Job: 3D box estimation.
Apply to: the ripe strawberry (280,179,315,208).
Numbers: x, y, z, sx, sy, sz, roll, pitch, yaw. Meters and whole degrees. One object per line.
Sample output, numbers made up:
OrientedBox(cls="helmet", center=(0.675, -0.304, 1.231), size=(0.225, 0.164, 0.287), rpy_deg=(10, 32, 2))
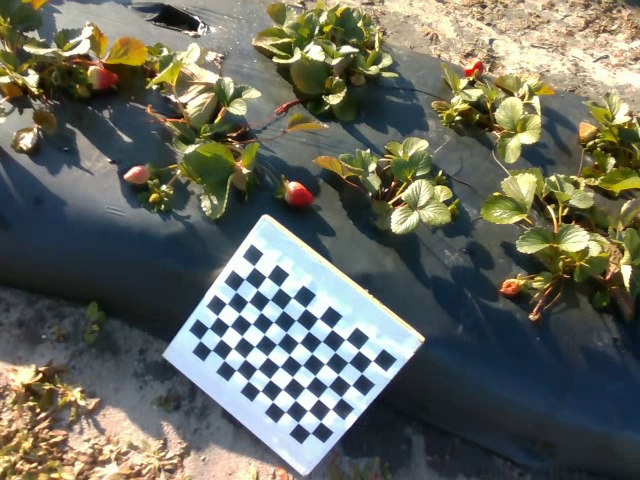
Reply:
OrientedBox(cls="ripe strawberry", center=(-0.033, -0.074, 0.942), size=(0.063, 0.045, 0.043), rpy_deg=(21, 13, 9))
